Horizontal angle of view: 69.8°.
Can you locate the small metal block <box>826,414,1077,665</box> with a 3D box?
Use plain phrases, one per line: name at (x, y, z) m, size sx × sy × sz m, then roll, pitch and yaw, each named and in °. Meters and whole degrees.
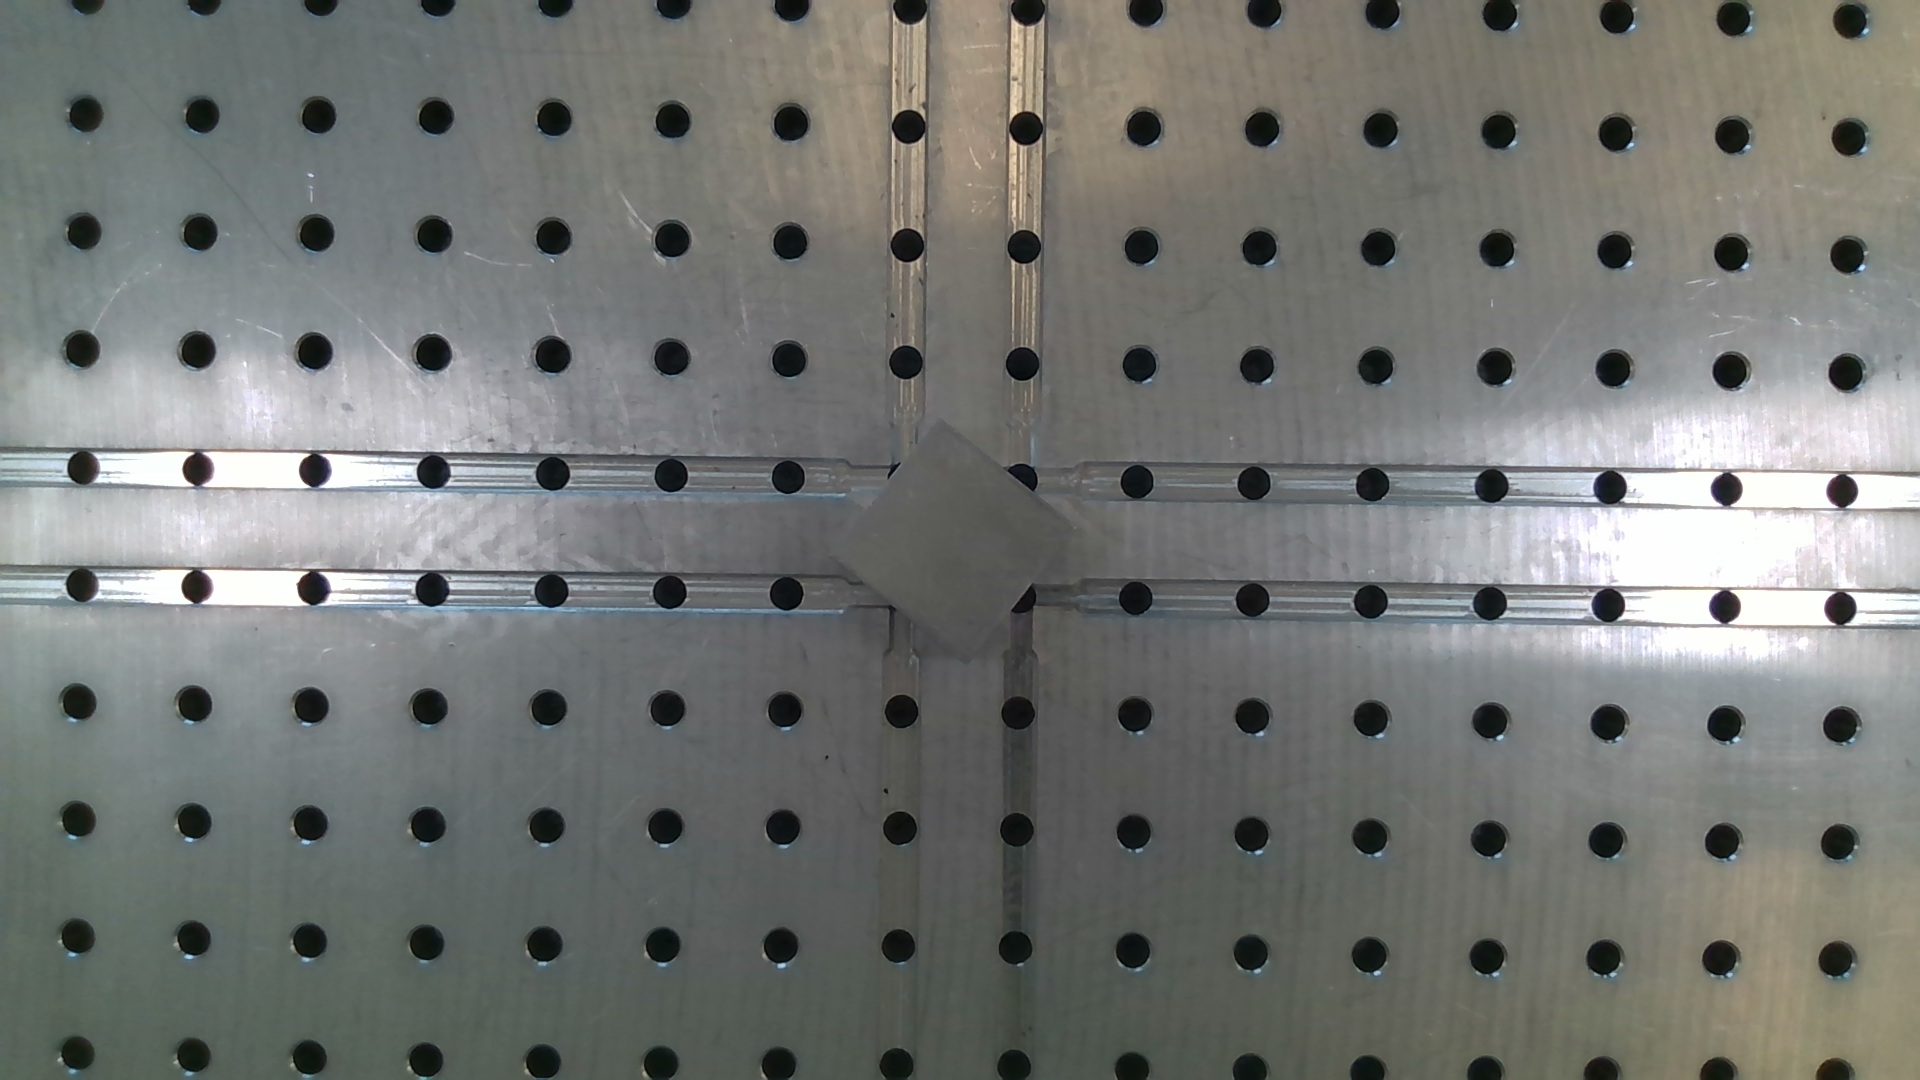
small metal block at (-0.002, 0.000, 0.398) m, size 0.050 × 0.025 × 0.050 m, roll 38°, pitch 90°, yaw 0°
